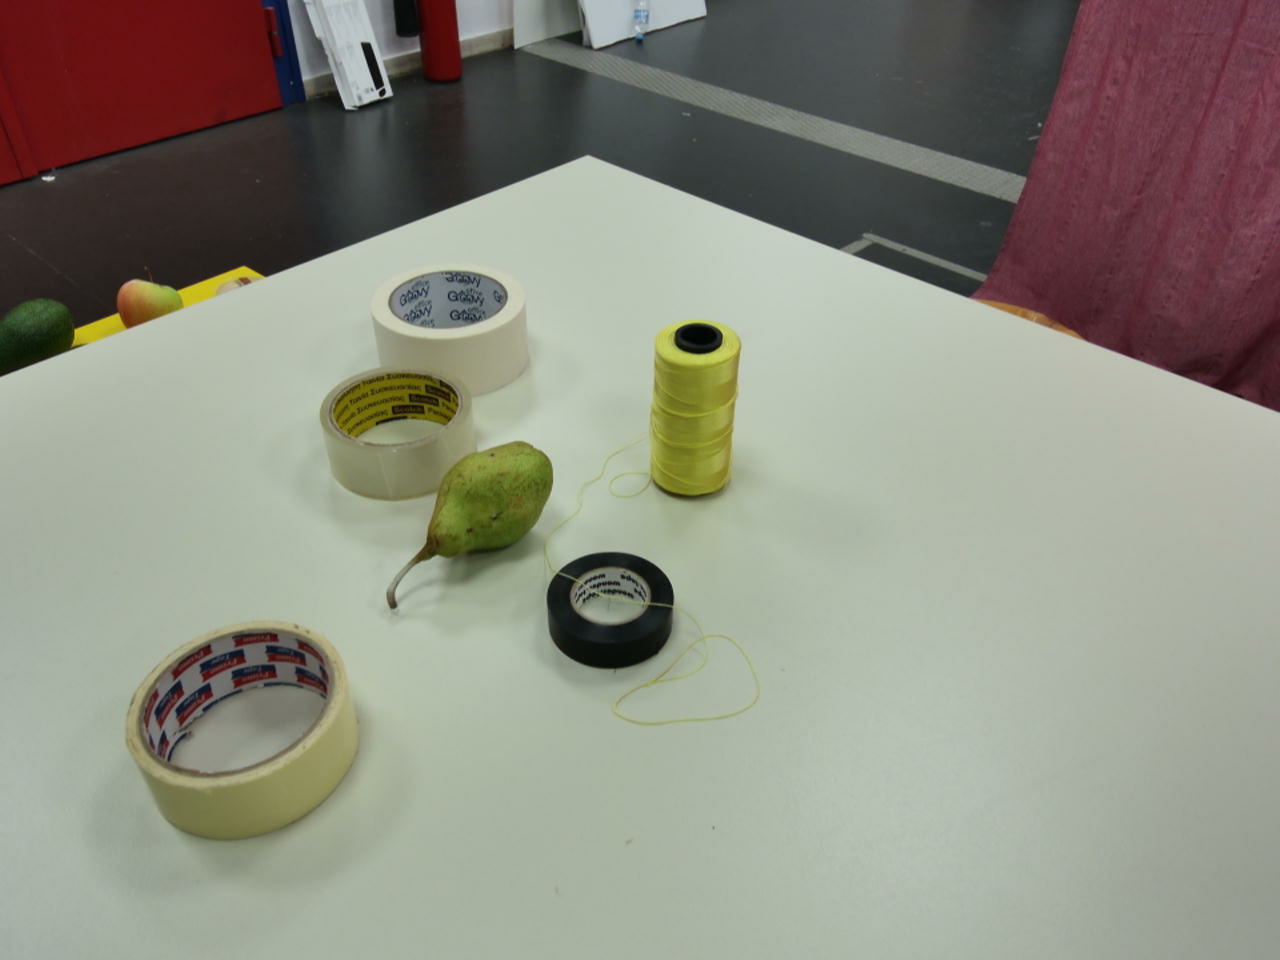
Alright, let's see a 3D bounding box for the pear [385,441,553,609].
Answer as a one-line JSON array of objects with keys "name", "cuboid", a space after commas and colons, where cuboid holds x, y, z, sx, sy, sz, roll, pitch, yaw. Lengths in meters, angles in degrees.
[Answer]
[{"name": "pear", "cuboid": [-0.099, 0.016, 0.548, 0.111, 0.056, 0.056, -21, 43, -26]}]
